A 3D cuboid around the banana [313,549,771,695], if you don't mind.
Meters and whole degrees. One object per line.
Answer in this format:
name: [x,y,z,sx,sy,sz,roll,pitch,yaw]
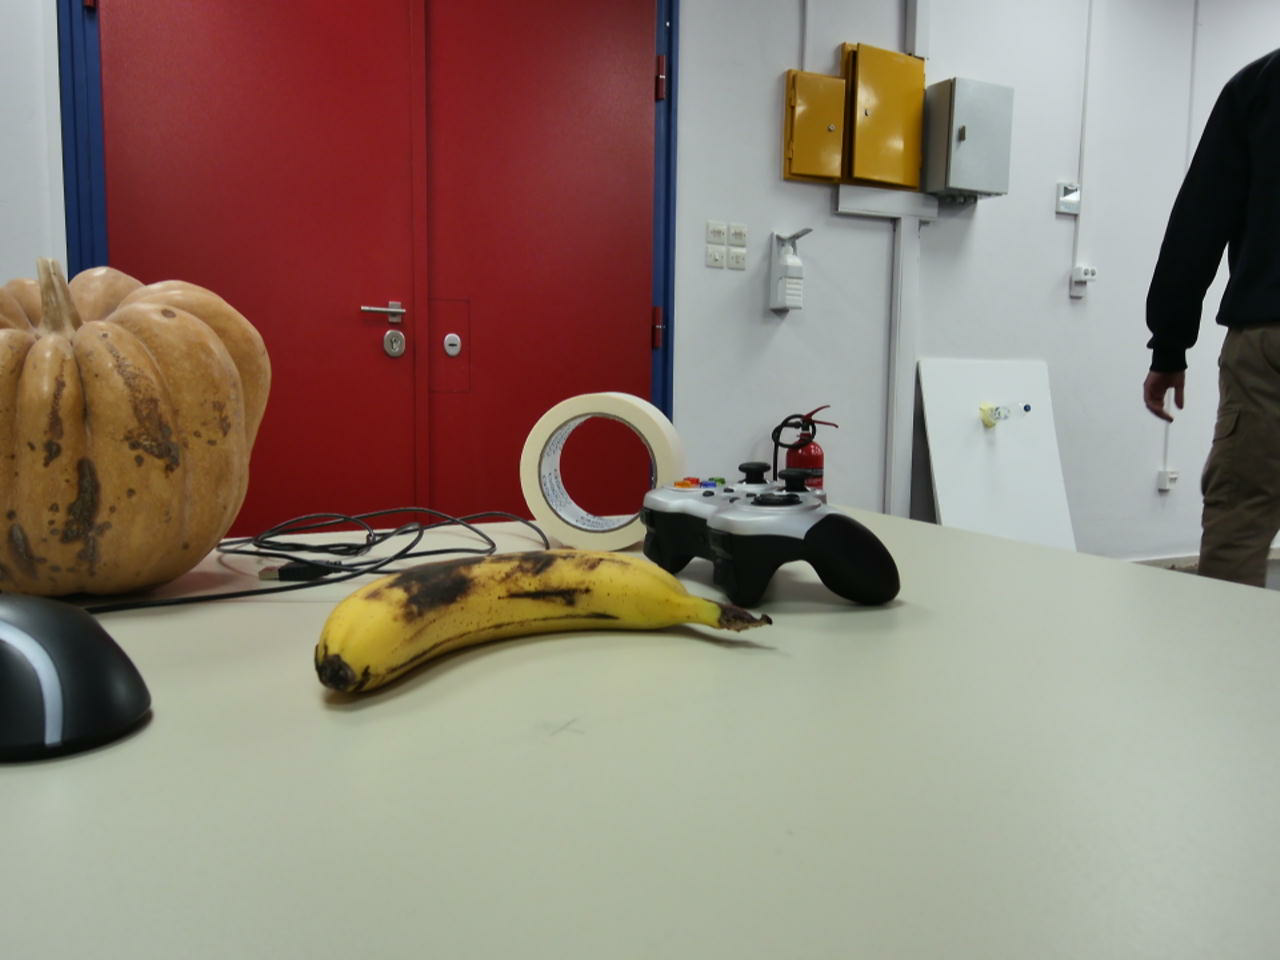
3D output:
banana: [-0.049,0.054,0.426,0.187,0.039,0.094,-3,5,-28]
